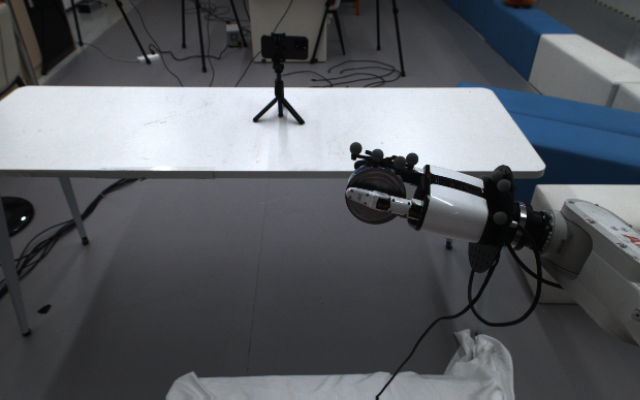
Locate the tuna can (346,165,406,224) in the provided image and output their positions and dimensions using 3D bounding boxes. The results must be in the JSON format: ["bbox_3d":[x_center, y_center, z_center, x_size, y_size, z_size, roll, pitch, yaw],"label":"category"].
[{"bbox_3d":[0.081,-0.013,0.694,0.085,0.085,0.034,5,17,4],"label":"tuna can"}]
